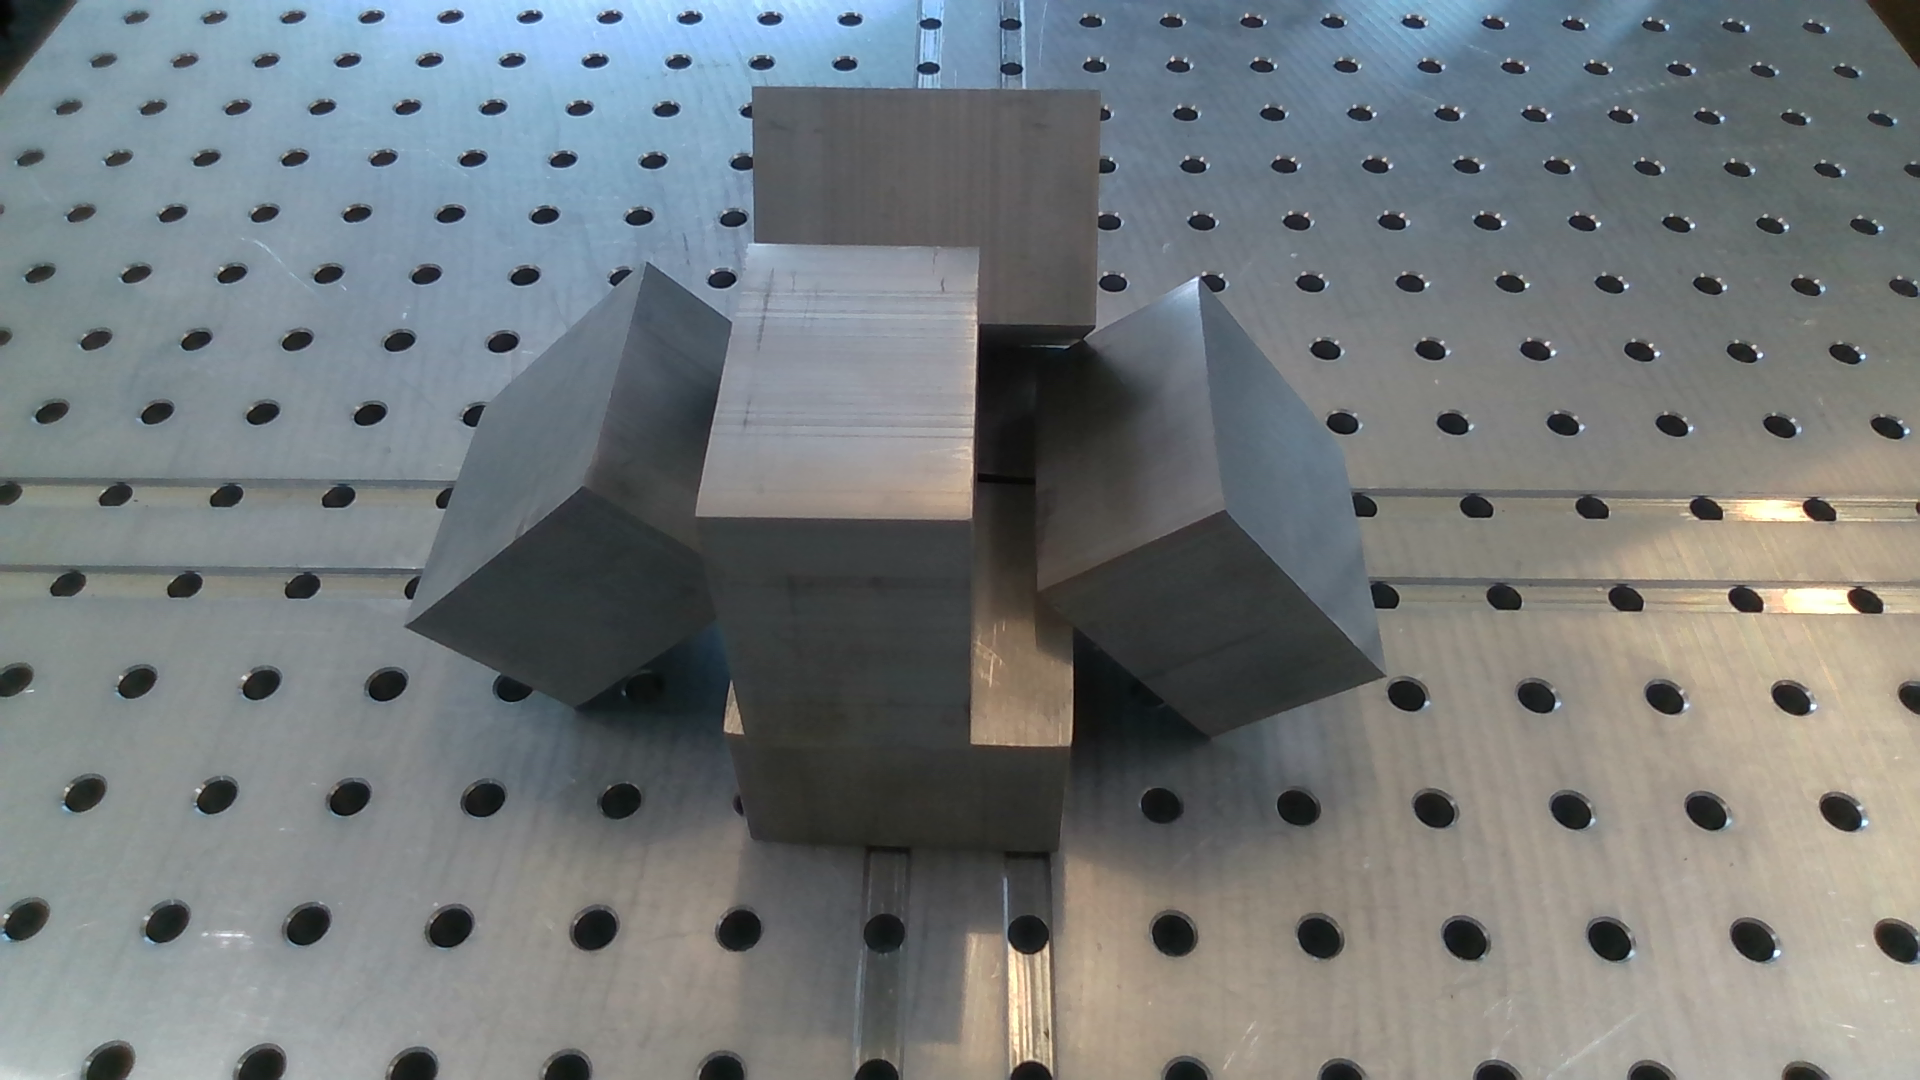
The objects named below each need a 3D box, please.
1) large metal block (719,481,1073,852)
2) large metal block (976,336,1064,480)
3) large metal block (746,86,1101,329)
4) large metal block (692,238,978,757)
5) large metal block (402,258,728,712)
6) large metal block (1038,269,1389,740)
[{"bbox_3d":[-0.013,0.031,0.354,0.080,0.050,0.080,2,50,2],"label":"large metal block"},{"bbox_3d":[-0.008,-0.034,0.409,0.080,0.050,0.080,5,50,4],"label":"large metal block"},{"bbox_3d":[-0.008,-0.081,0.352,0.080,0.080,0.050,1,95,1],"label":"large metal block"},{"bbox_3d":[-0.022,-0.008,0.303,0.050,0.080,0.080,1,50,1],"label":"large metal block"},{"bbox_3d":[-0.093,-0.013,0.365,0.080,0.050,0.080,-31,39,34],"label":"large metal block"},{"bbox_3d":[0.064,-0.007,0.358,0.050,0.080,0.080,-26,43,30],"label":"large metal block"}]
